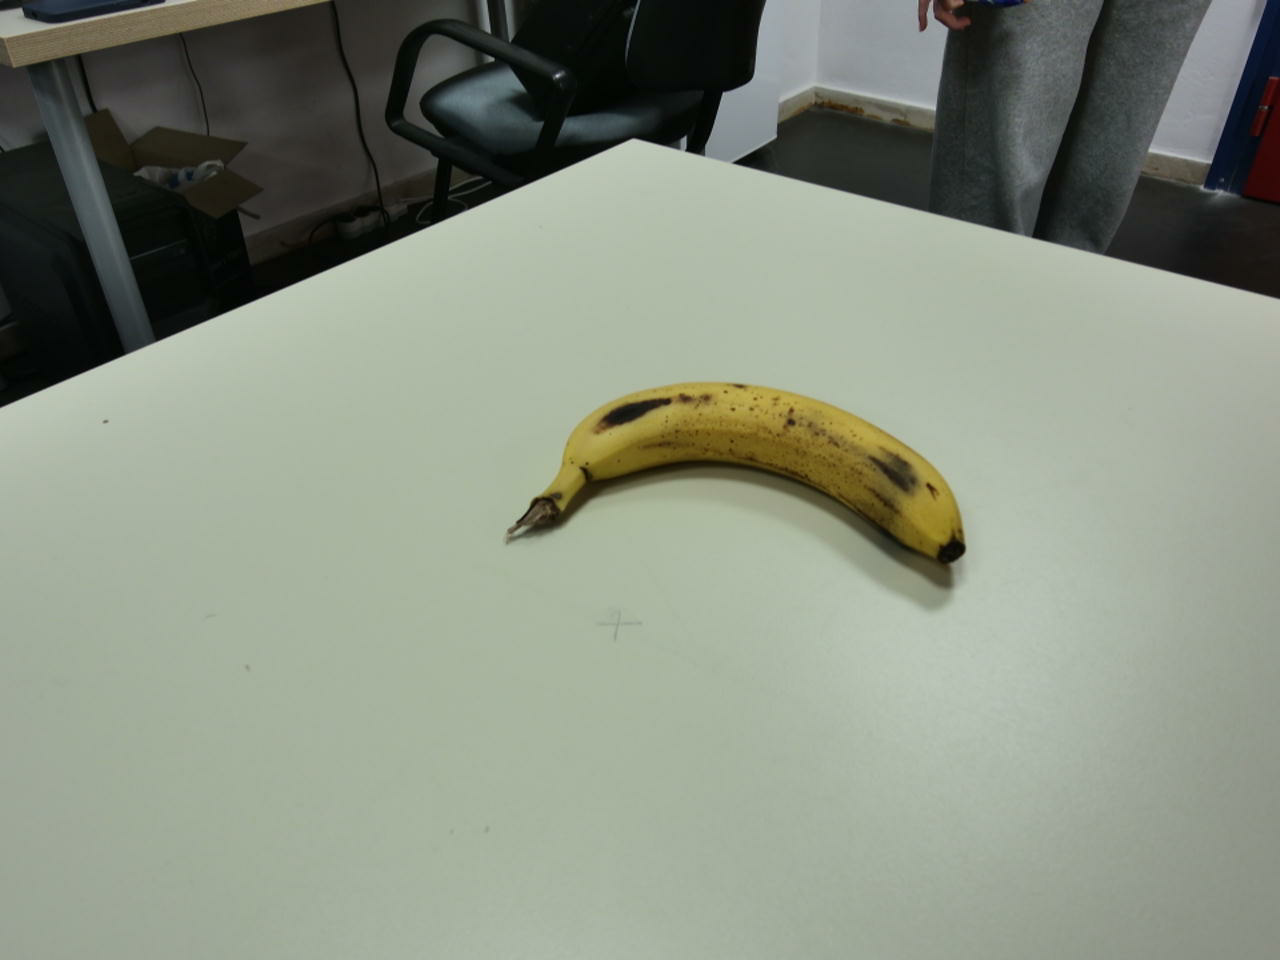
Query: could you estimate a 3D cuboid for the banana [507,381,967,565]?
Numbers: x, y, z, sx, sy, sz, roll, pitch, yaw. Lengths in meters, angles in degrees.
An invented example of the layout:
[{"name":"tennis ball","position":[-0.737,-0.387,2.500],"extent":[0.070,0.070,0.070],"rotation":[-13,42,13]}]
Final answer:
[{"name":"banana","position":[0.048,-0.007,0.447],"extent":[0.186,0.038,0.097],"rotation":[7,37,10]}]
